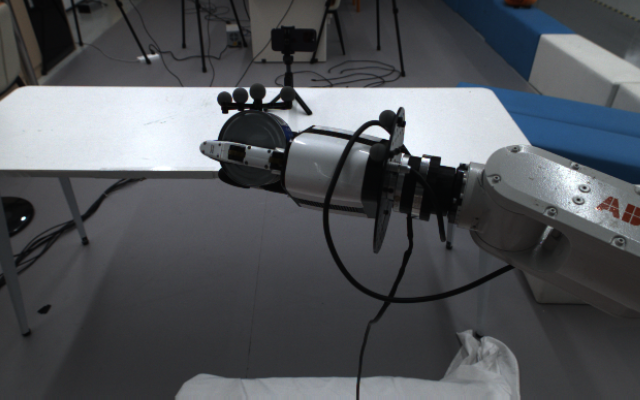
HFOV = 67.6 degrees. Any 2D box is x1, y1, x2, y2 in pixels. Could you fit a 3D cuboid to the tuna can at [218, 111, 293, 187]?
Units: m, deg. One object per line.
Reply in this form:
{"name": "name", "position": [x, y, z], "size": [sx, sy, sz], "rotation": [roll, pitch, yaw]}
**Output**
{"name": "tuna can", "position": [-0.070, -0.059, 0.555], "size": [0.085, 0.085, 0.034], "rotation": [15, 10, 18]}
